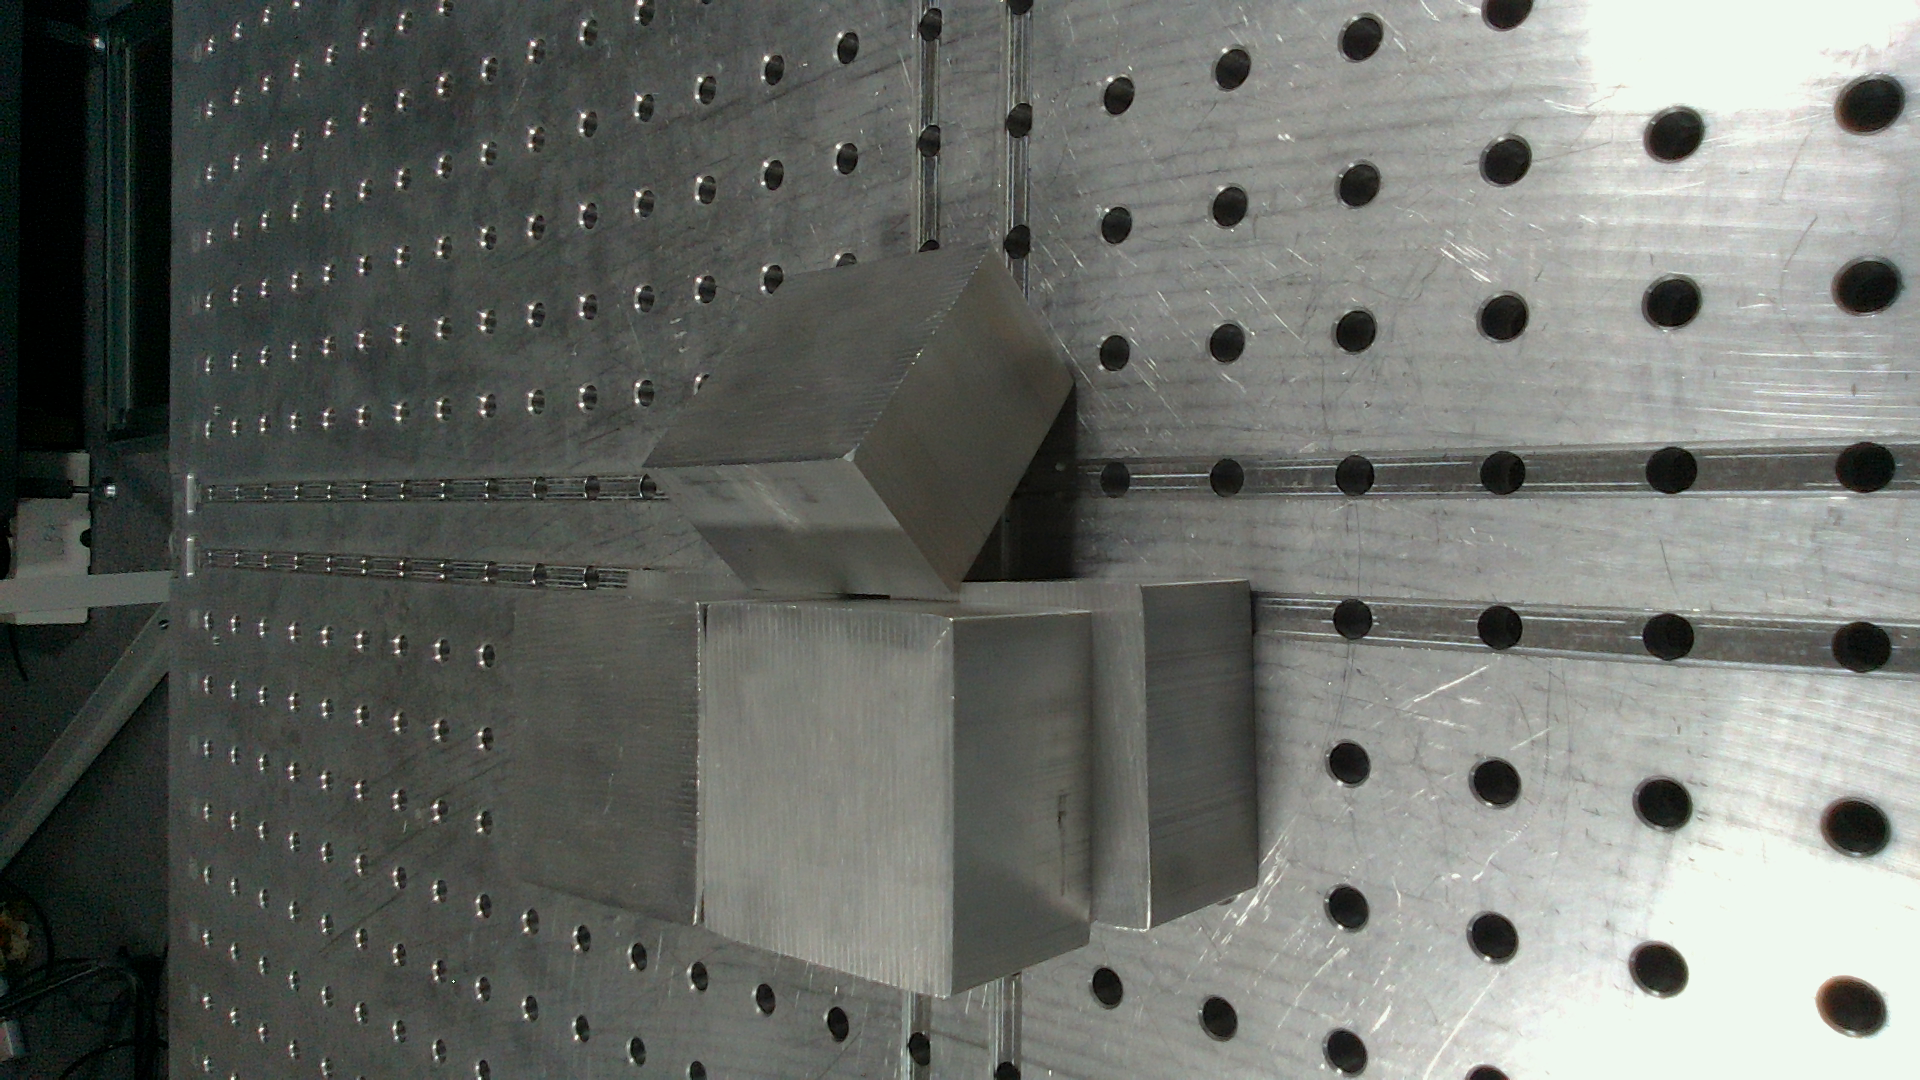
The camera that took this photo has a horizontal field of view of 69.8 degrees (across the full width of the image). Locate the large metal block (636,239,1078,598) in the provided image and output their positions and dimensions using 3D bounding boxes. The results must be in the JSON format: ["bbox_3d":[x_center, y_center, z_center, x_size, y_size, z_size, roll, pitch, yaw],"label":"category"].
[{"bbox_3d":[-0.027,-0.032,0.377,0.080,0.050,0.080,0,48,40],"label":"large metal block"}]

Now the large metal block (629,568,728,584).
[{"bbox_3d":[-0.060,0.050,0.433,0.080,0.050,0.080,2,91,40],"label":"large metal block"}]

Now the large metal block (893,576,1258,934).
[{"bbox_3d":[0.029,0.050,0.357,0.080,0.050,0.080,-1,89,40],"label":"large metal block"}]

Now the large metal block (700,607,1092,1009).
[{"bbox_3d":[-0.016,0.056,0.327,0.080,0.050,0.080,0,90,40],"label":"large metal block"}]

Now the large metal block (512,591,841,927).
[{"bbox_3d":[-0.079,0.054,0.378,0.080,0.050,0.080,0,90,40],"label":"large metal block"}]
